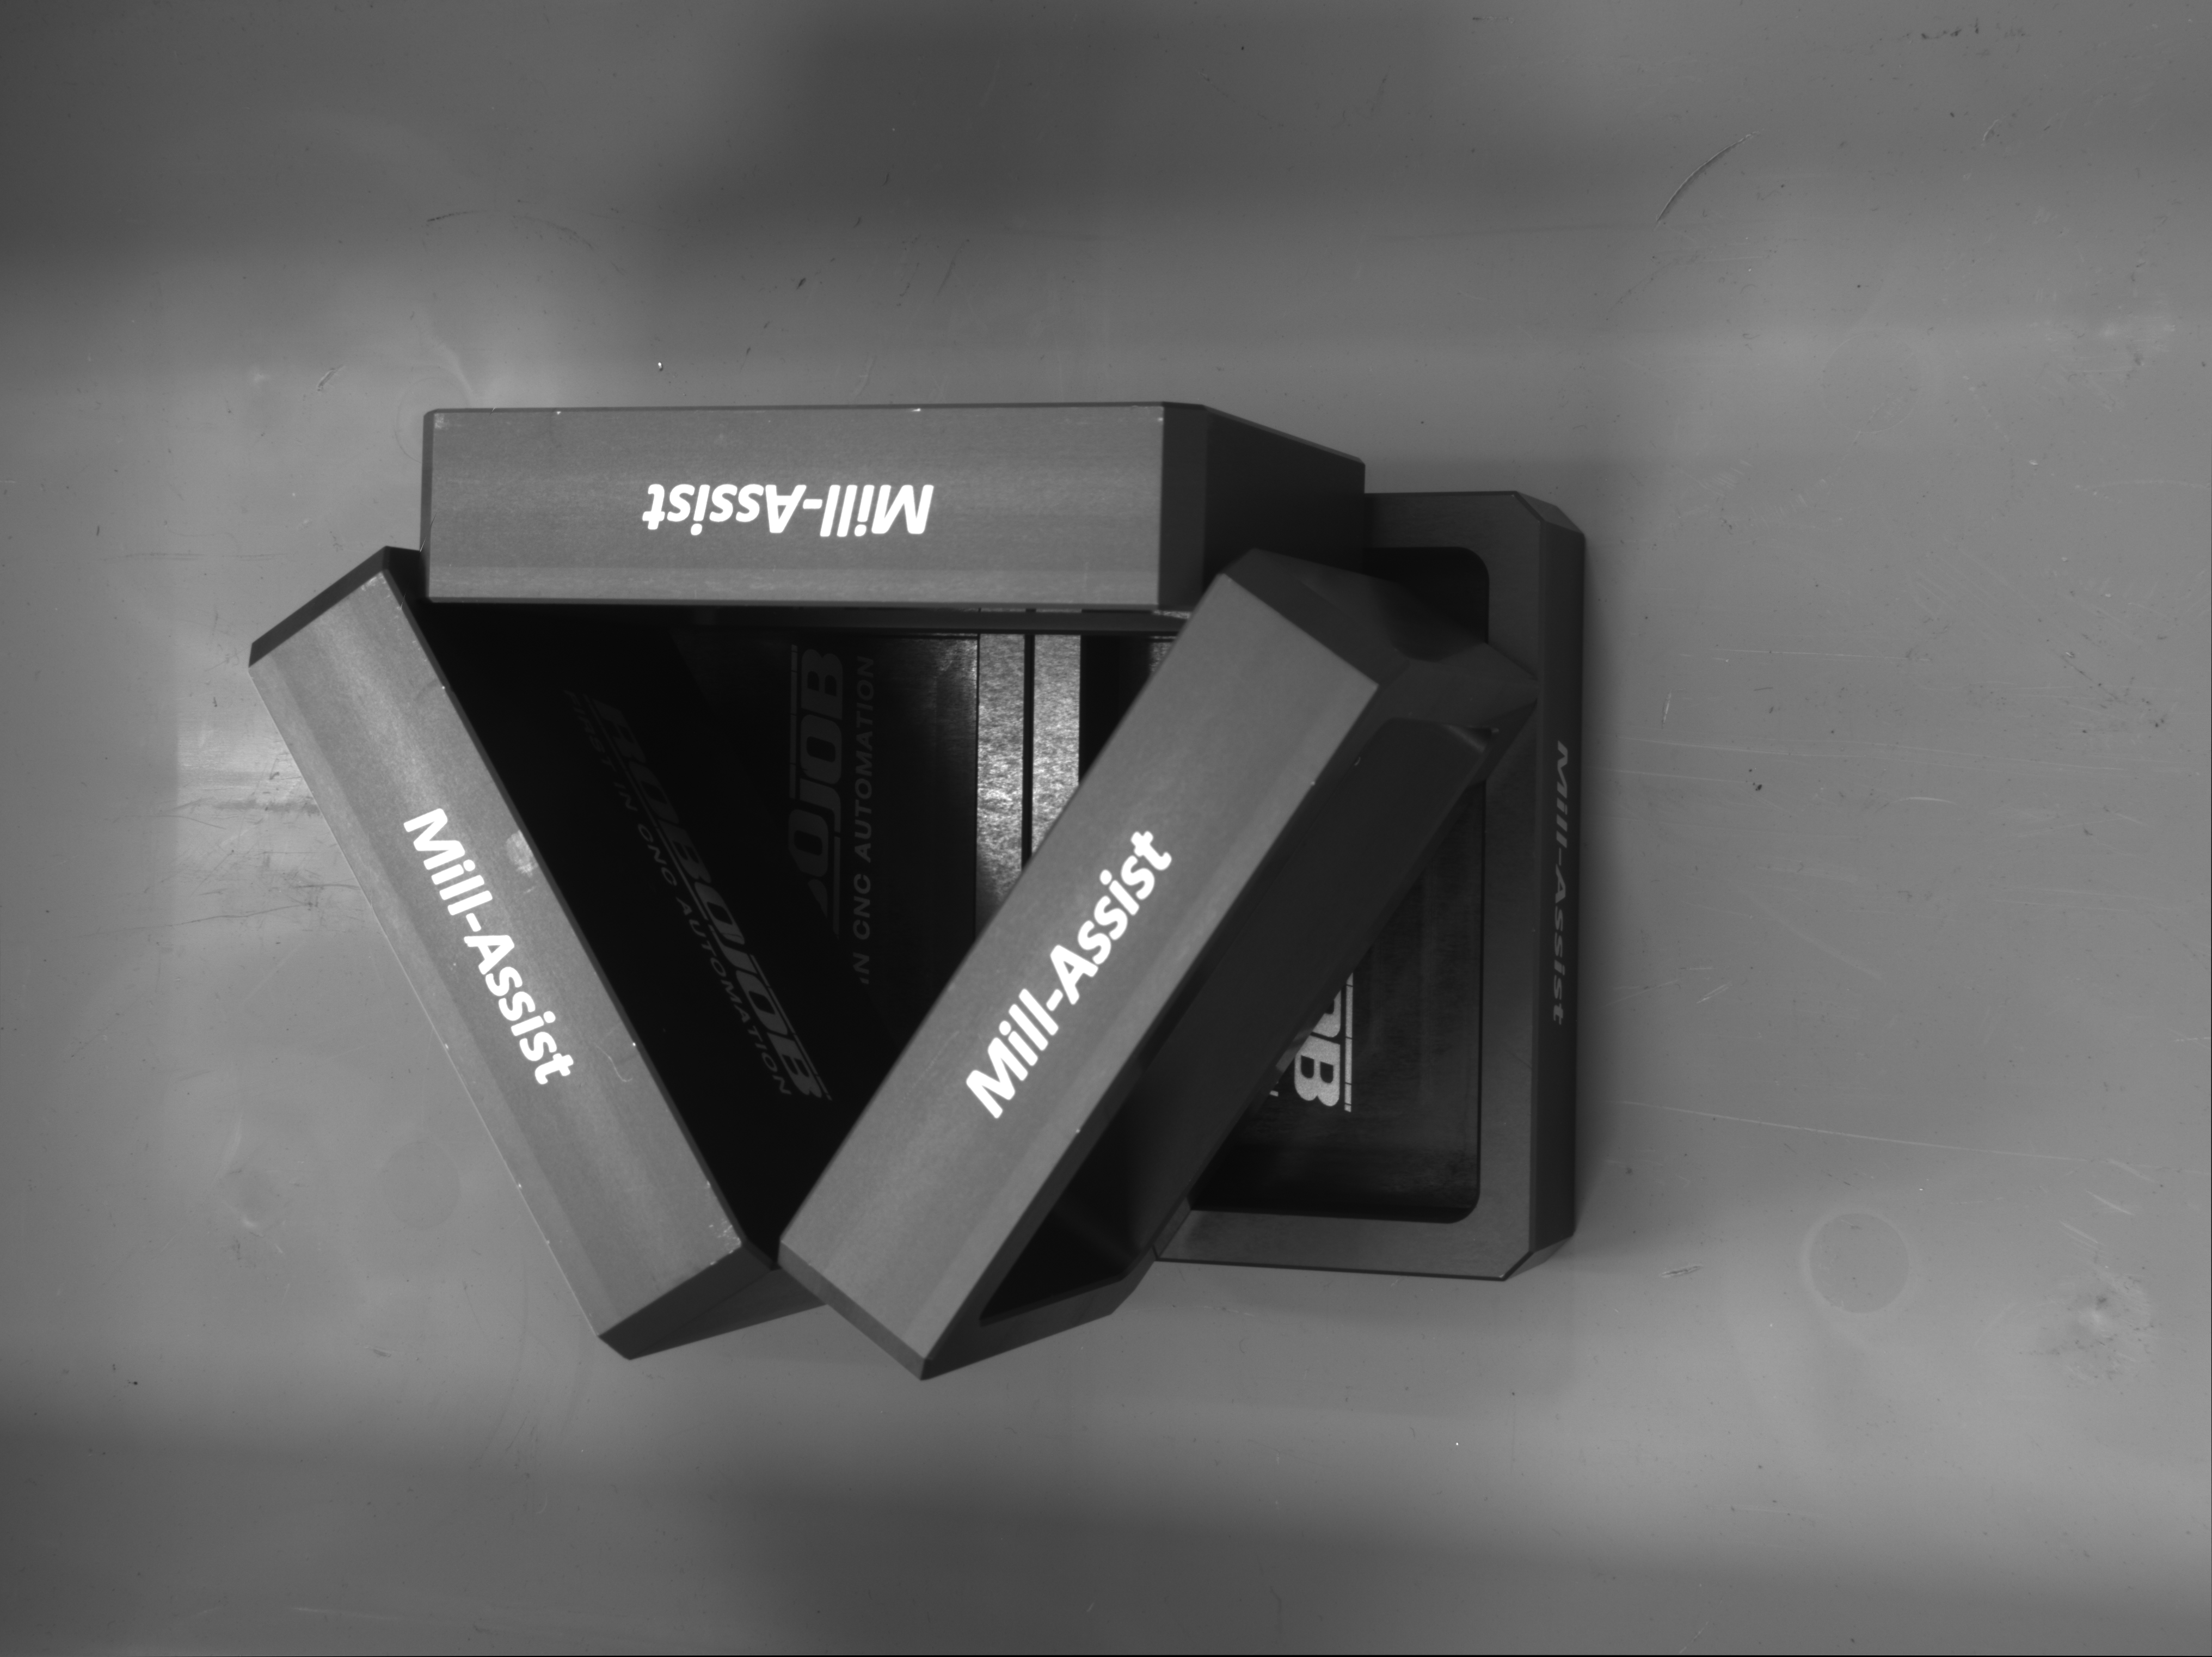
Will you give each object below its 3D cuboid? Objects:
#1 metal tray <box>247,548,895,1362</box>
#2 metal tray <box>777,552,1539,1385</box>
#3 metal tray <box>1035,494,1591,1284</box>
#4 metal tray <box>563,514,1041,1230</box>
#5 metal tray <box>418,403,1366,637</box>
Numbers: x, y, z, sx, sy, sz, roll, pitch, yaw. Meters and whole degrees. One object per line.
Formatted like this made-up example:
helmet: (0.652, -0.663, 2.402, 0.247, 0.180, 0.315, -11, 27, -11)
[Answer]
metal tray: (-0.080, 0.019, 0.607, 0.030, 0.090, 0.130, -33, 79, 18)
metal tray: (0.010, 0.021, 0.574, 0.030, 0.090, 0.130, 37, 102, 17)
metal tray: (0.035, 0.009, 0.630, 0.090, 0.030, 0.130, 1, 89, 20)
metal tray: (-0.051, 0.007, 0.662, 0.090, 0.030, 0.130, 0, 89, 20)
metal tray: (-0.032, -0.048, 0.589, 0.130, 0.090, 0.030, 2, 91, 20)
